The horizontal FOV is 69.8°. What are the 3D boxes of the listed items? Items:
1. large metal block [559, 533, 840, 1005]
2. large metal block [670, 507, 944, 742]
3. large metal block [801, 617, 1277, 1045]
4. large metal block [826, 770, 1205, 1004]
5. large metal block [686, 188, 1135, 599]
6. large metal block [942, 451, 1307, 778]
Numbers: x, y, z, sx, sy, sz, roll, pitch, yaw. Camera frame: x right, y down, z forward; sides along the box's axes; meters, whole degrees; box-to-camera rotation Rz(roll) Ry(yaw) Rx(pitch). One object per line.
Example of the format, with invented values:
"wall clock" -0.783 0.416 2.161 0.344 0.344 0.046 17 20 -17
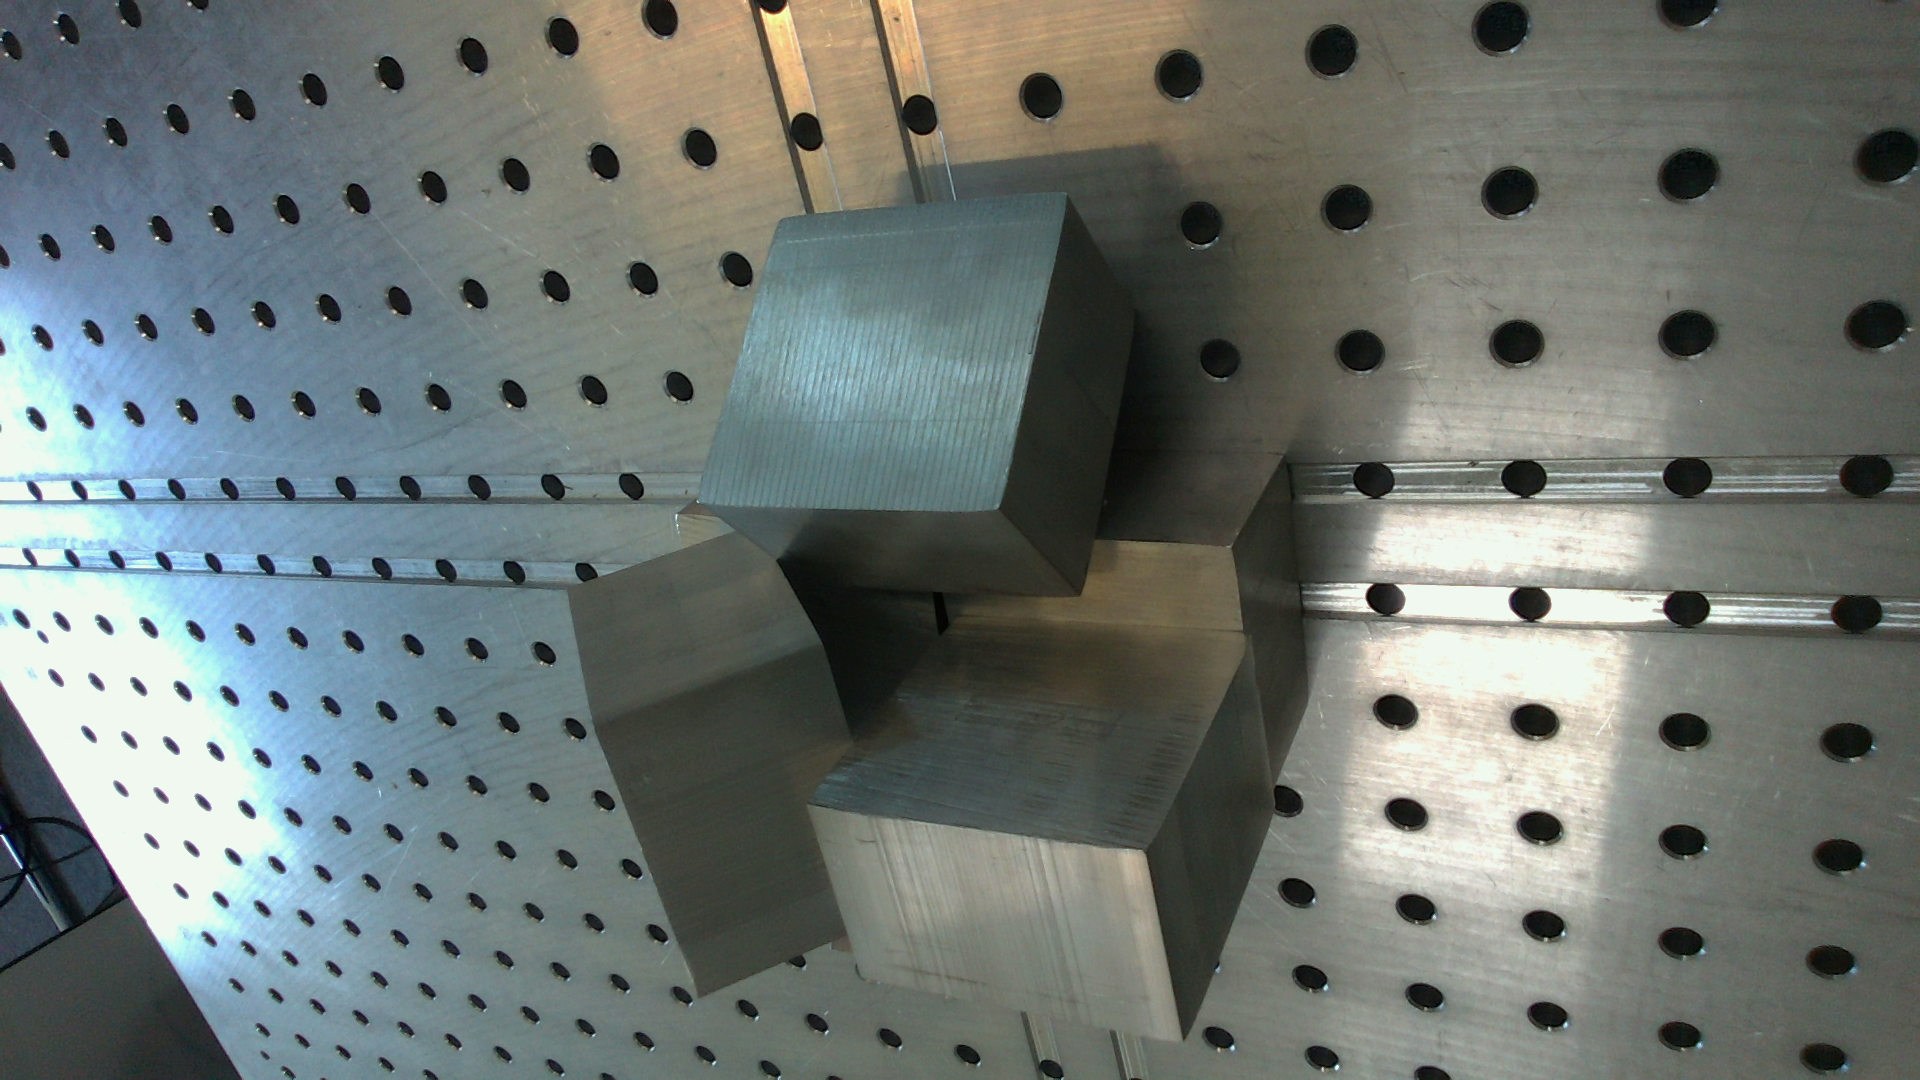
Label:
"large metal block" -0.061 0.053 0.351 0.050 0.080 0.080 -20 116 -13
"large metal block" -0.030 0.019 0.408 0.080 0.050 0.080 7 121 25
"large metal block" 0.023 0.062 0.322 0.080 0.080 0.050 2 119 27
"large metal block" 0.019 0.104 0.407 0.080 0.050 0.080 2 164 27
"large metal block" -0.009 -0.034 0.335 0.080 0.080 0.050 2 158 27
"large metal block" 0.045 0.023 0.369 0.080 0.050 0.080 3 120 27
